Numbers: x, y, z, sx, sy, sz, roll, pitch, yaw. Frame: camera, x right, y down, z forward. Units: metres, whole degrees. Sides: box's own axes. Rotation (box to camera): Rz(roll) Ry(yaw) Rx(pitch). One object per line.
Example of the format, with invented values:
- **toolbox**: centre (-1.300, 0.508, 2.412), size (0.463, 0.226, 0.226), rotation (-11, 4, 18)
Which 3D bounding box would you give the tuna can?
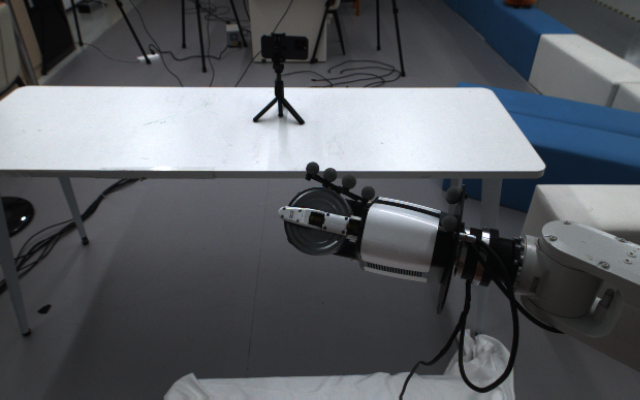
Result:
- **tuna can**: centre (0.002, 0.027, 0.613), size (0.085, 0.085, 0.034), rotation (13, -6, 16)
